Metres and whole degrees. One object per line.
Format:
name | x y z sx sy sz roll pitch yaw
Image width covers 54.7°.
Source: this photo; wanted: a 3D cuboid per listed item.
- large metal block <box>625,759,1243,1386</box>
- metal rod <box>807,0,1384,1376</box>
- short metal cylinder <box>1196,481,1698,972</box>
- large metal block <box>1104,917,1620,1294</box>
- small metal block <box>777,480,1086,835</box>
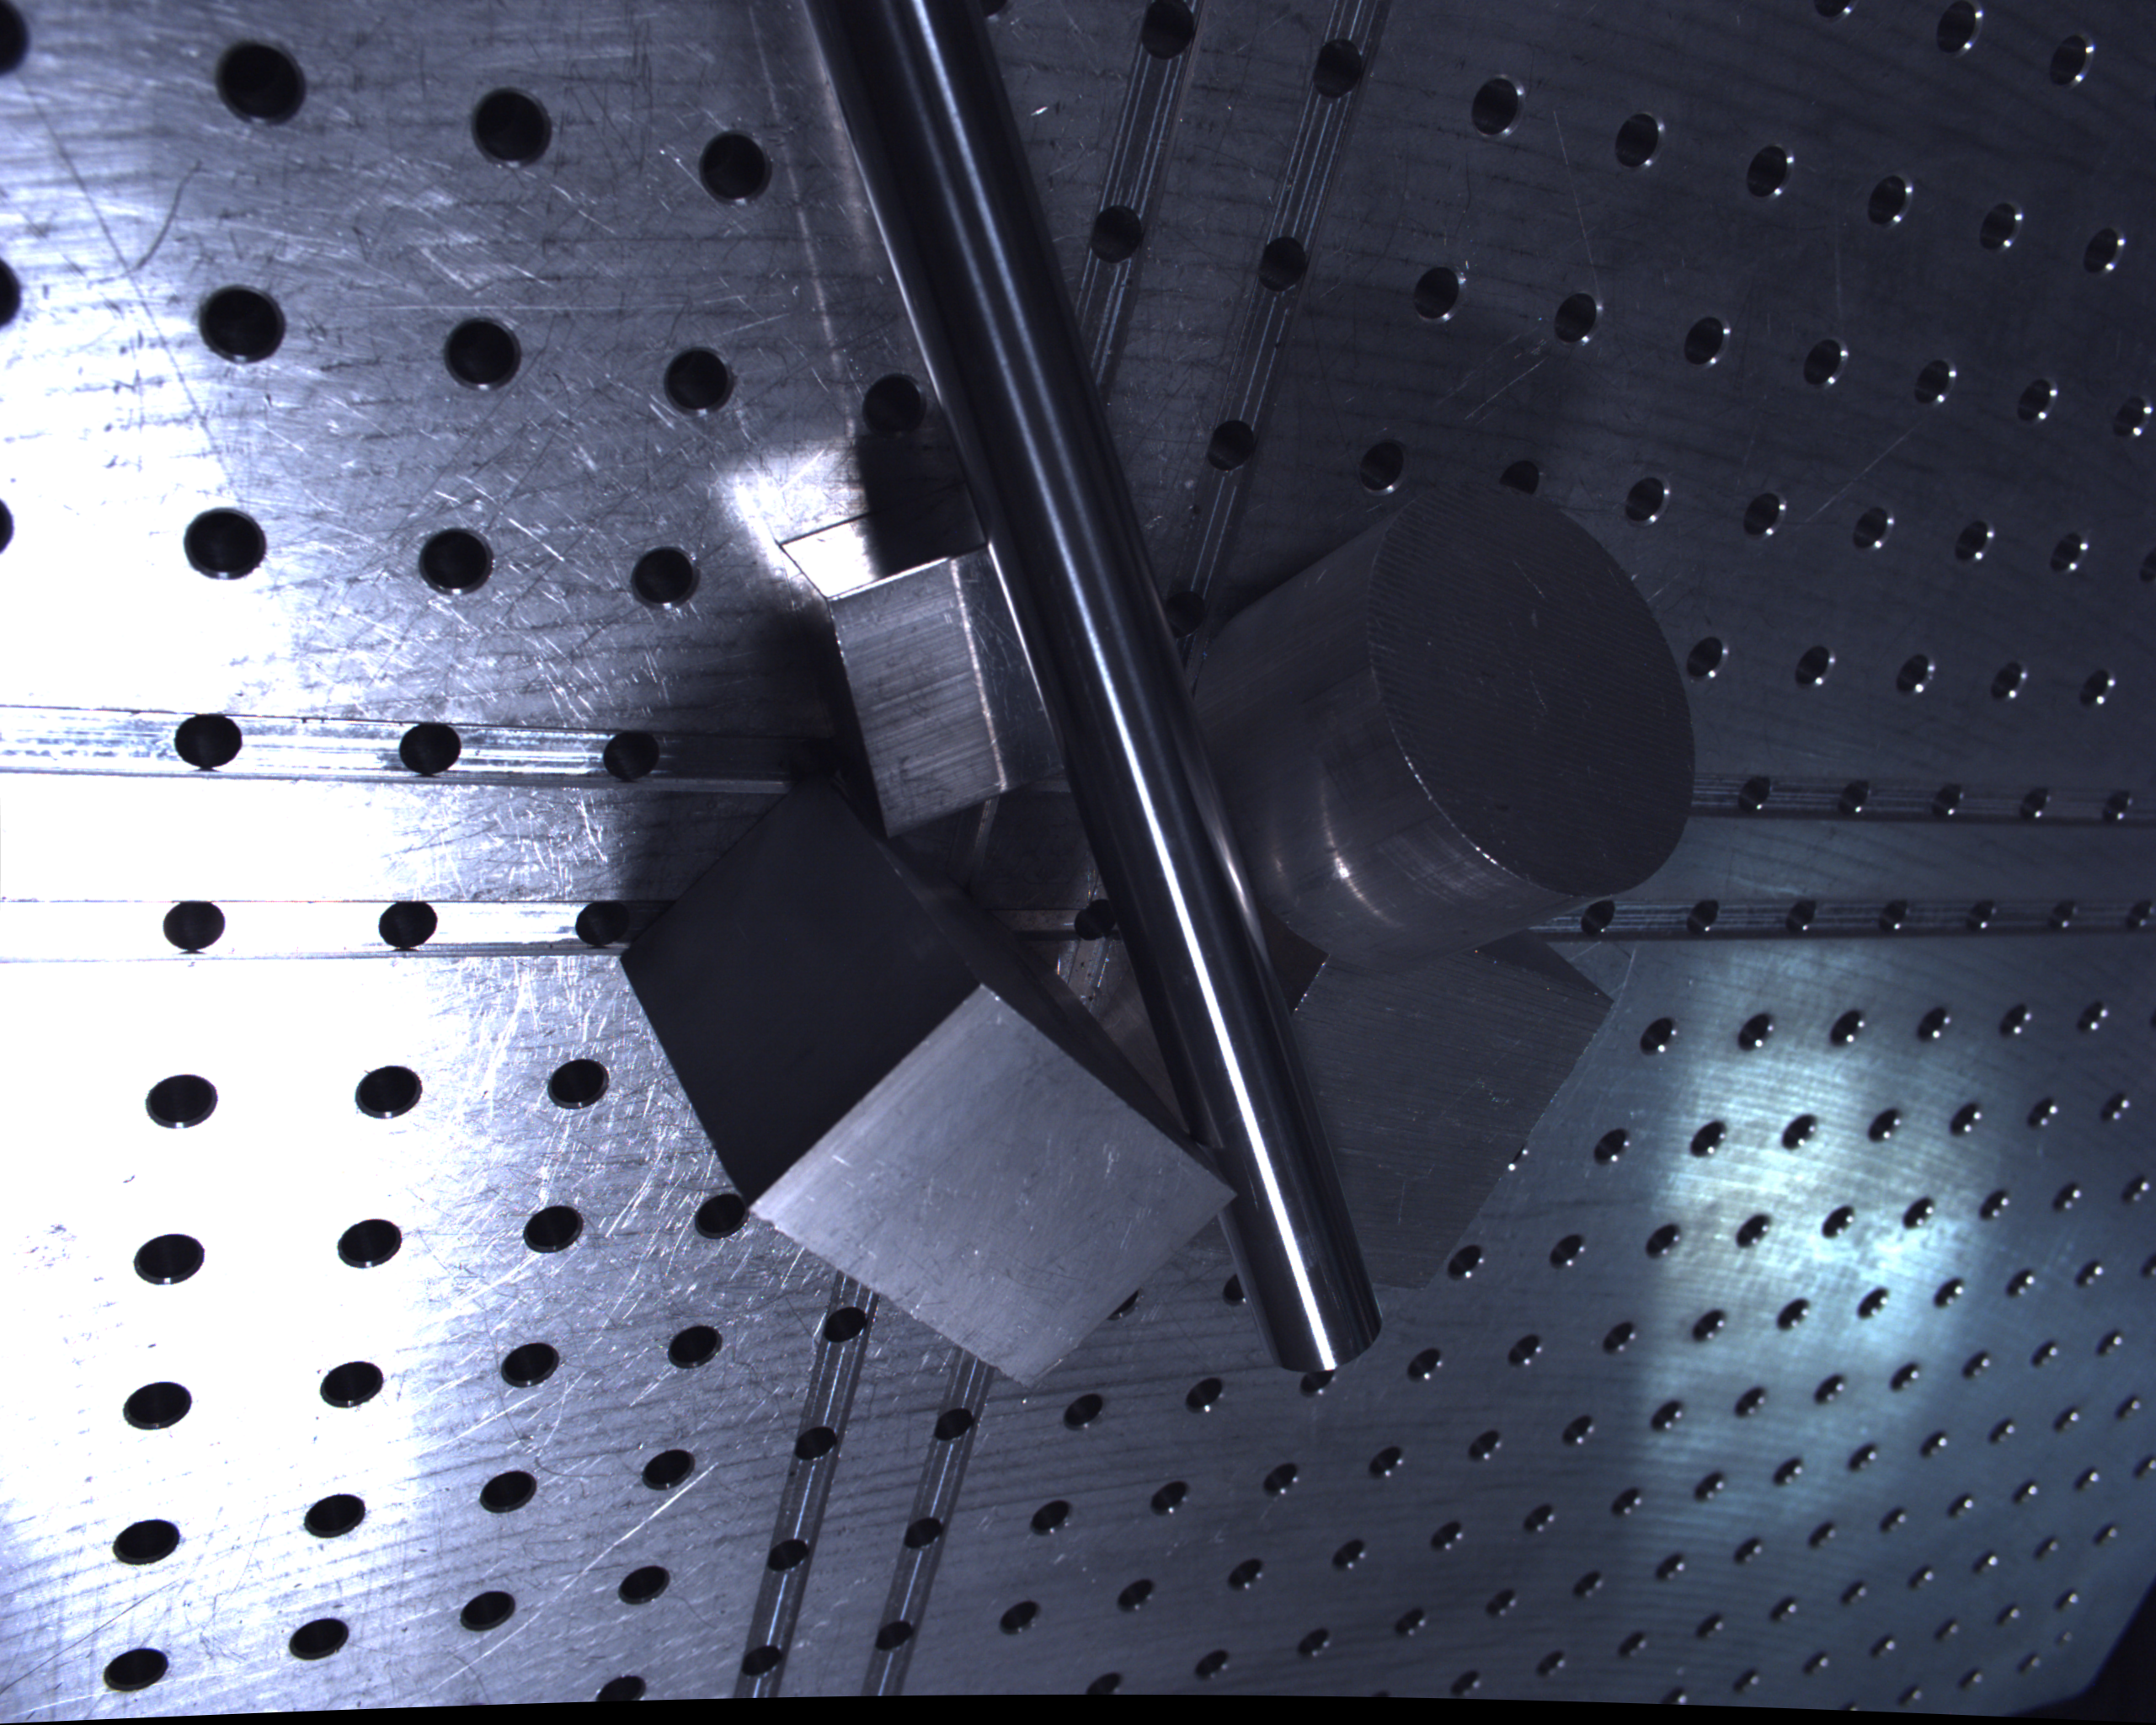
large metal block | -0.027 0.038 0.385 0.050 0.080 0.080 -45 130 3
metal rod | 0.006 -0.033 0.356 0.025 0.025 0.298 -25 116 -13
short metal cylinder | 0.069 -0.024 0.391 0.081 0.080 0.050 9 157 -33
large metal block | 0.055 0.041 0.452 0.080 0.050 0.080 19 108 -36
small metal block | -0.021 -0.039 0.377 0.050 0.025 0.050 -22 127 -16
